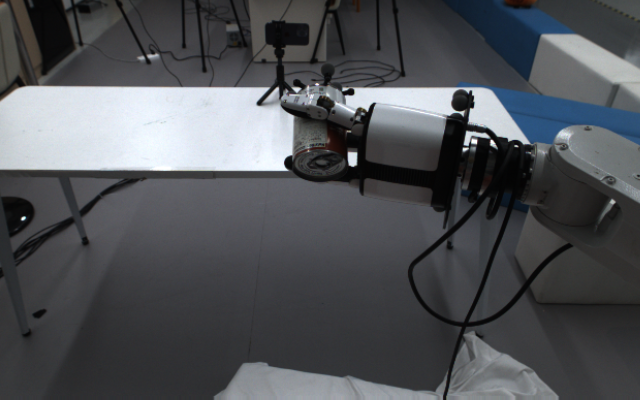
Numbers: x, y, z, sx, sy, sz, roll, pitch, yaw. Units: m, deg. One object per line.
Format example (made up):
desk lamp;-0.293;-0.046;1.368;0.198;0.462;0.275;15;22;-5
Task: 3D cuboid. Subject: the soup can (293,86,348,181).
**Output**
soup can;0.001;-0.084;0.593;0.067;0.067;0.101;0;61;-3
